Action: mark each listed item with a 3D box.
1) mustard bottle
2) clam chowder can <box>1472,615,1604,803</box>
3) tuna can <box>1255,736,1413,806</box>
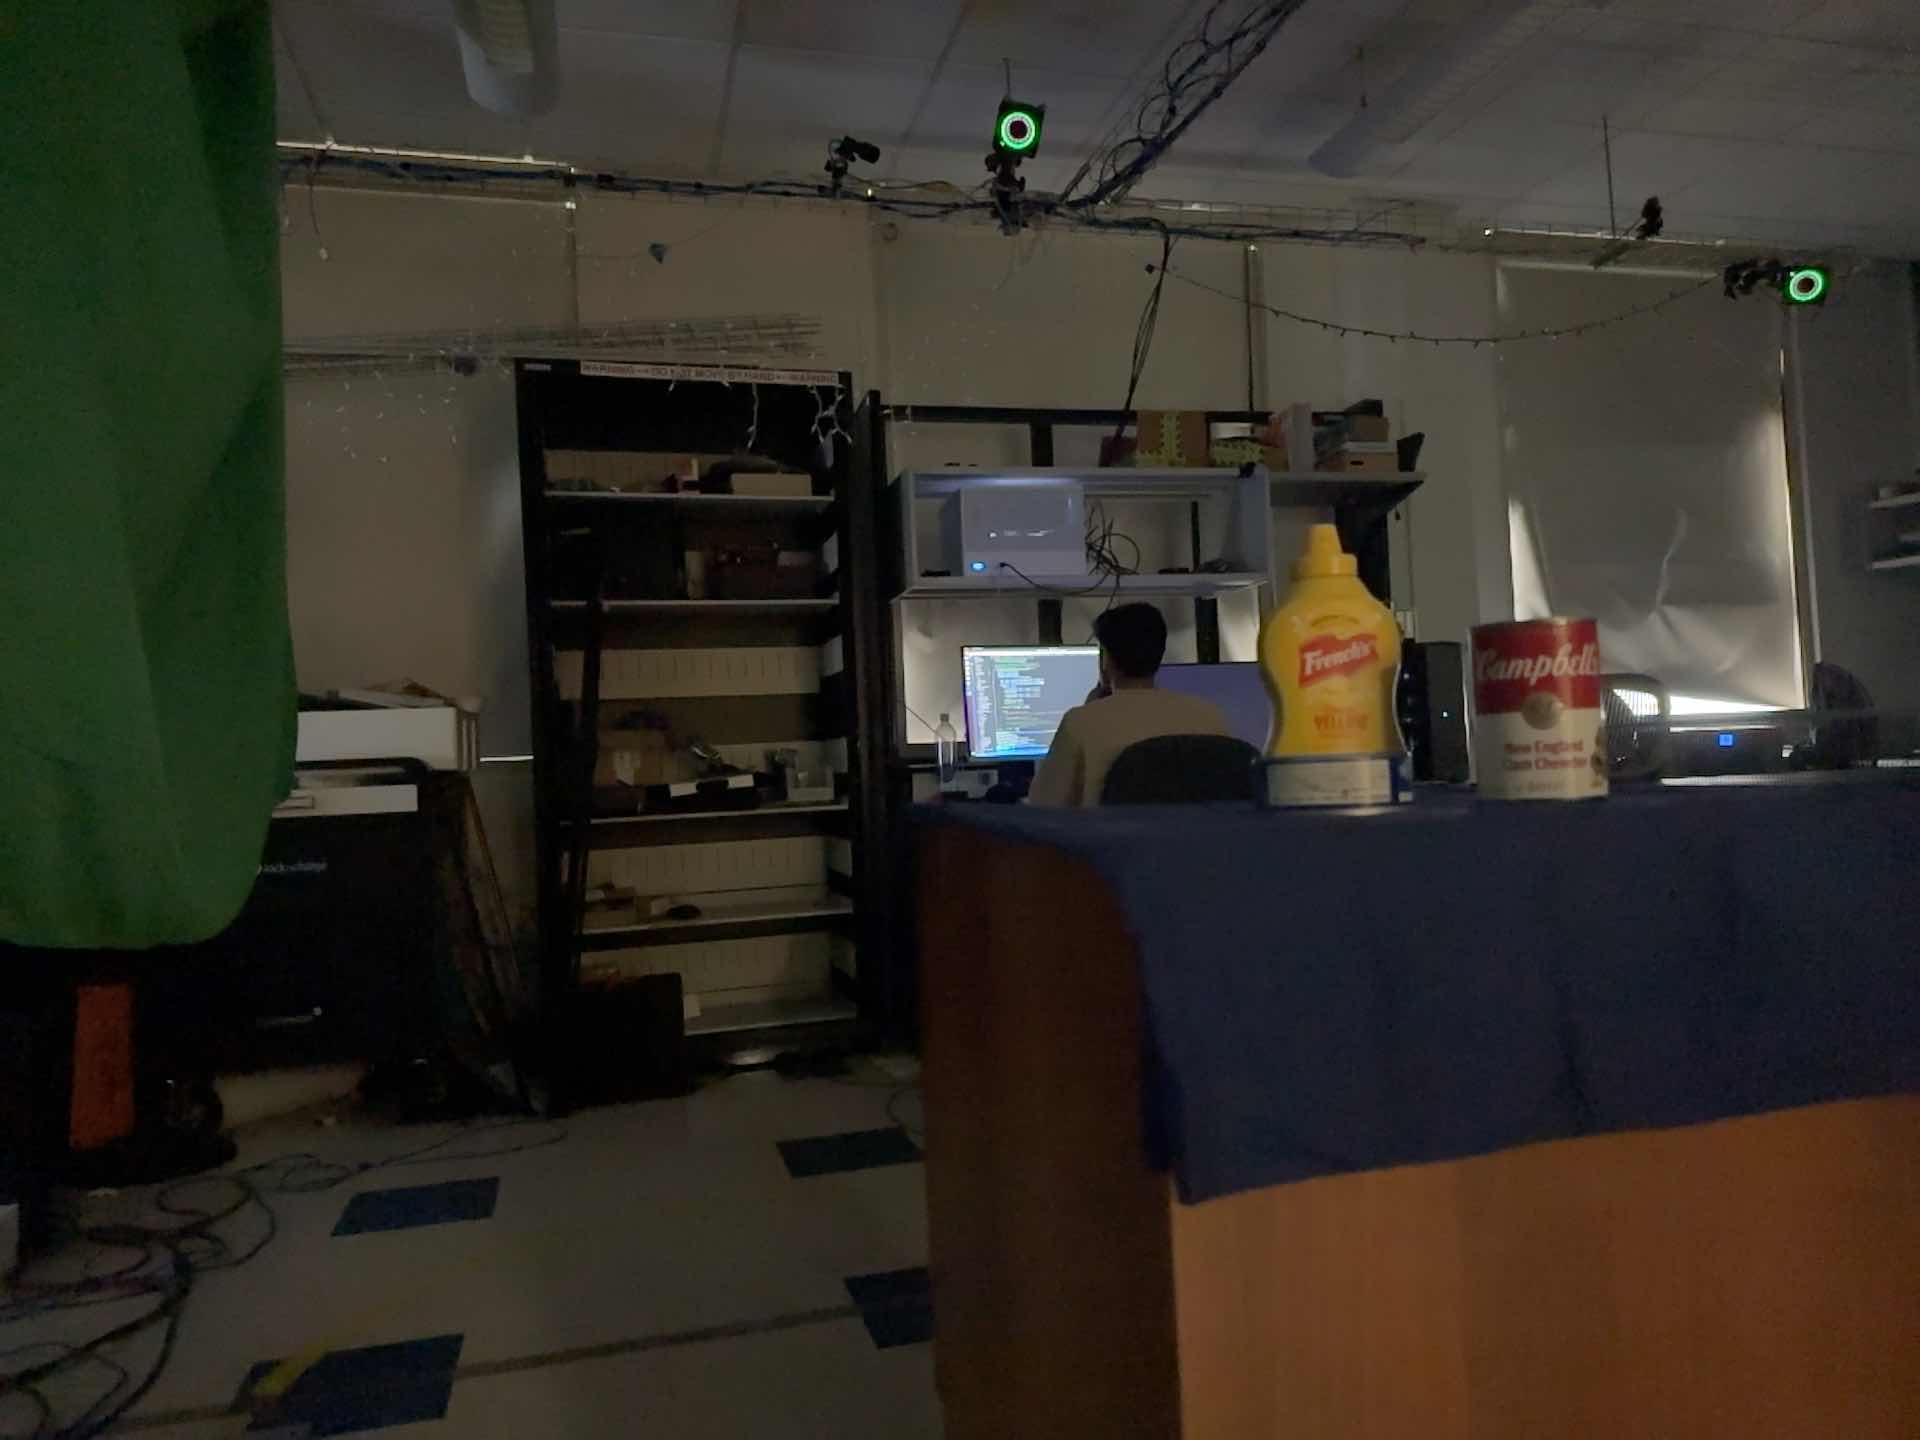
[{"bbox_3d":[0.235,-0.029,0.840,0.092,0.184,0.054,-1,2,1],"label":"mustard bottle"},{"bbox_3d":[0.326,-0.006,0.760,0.068,0.102,0.068,-1,1,0],"label":"clam chowder can"},{"bbox_3d":[0.208,0.027,0.749,0.083,0.034,0.083,-2,1,0],"label":"tuna can"}]
